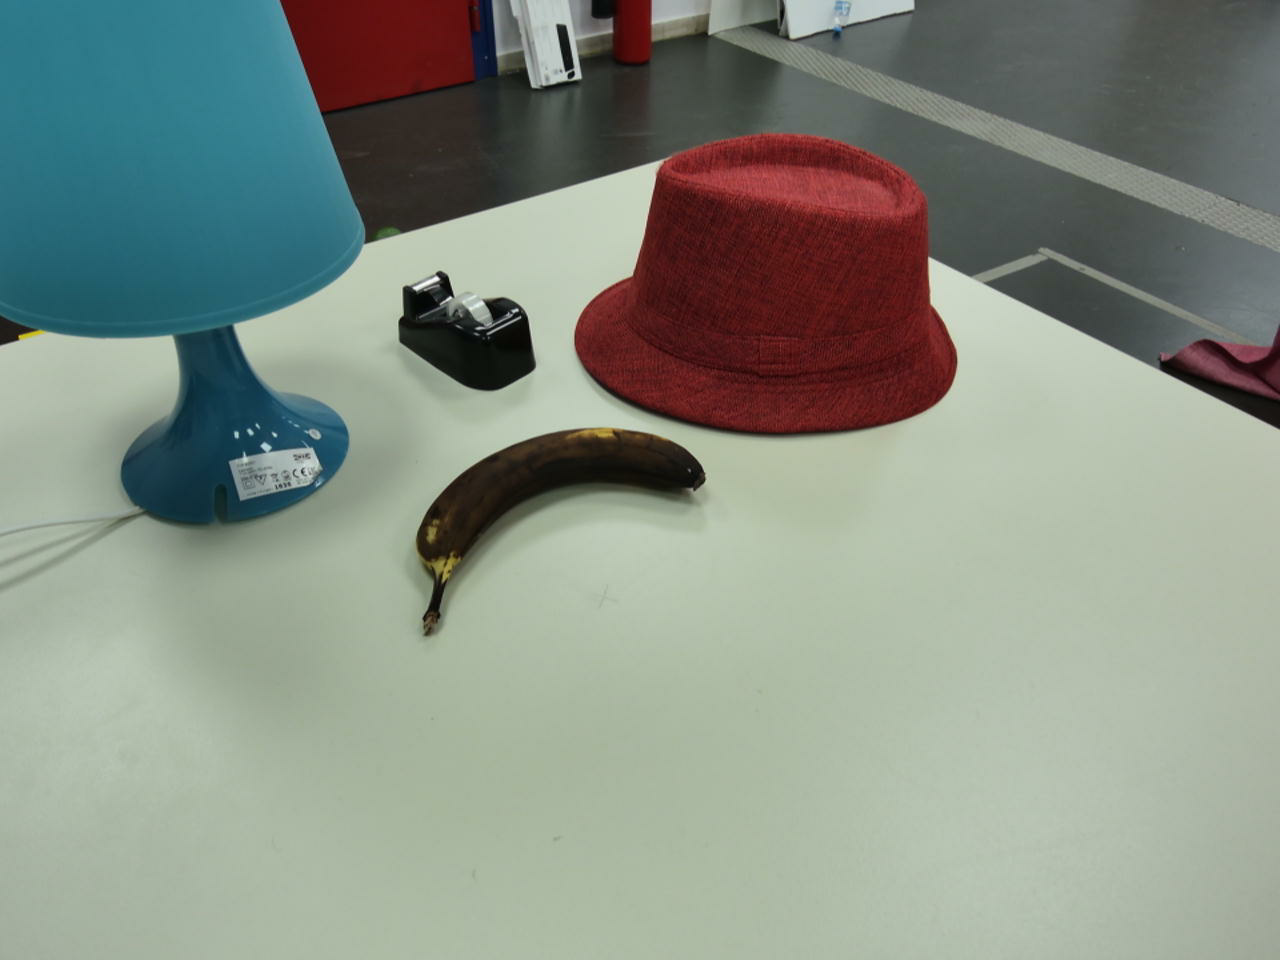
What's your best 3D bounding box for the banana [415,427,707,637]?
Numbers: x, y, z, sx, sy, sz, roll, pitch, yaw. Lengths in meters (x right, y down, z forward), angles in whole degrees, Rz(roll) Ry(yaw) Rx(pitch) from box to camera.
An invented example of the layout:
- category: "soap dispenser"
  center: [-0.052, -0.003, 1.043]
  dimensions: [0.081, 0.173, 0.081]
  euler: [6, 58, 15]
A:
- category: "banana"
  center: [-0.058, 0.010, 0.568]
  dimensions: [0.188, 0.034, 0.091]
  euler: [-24, 44, -28]
